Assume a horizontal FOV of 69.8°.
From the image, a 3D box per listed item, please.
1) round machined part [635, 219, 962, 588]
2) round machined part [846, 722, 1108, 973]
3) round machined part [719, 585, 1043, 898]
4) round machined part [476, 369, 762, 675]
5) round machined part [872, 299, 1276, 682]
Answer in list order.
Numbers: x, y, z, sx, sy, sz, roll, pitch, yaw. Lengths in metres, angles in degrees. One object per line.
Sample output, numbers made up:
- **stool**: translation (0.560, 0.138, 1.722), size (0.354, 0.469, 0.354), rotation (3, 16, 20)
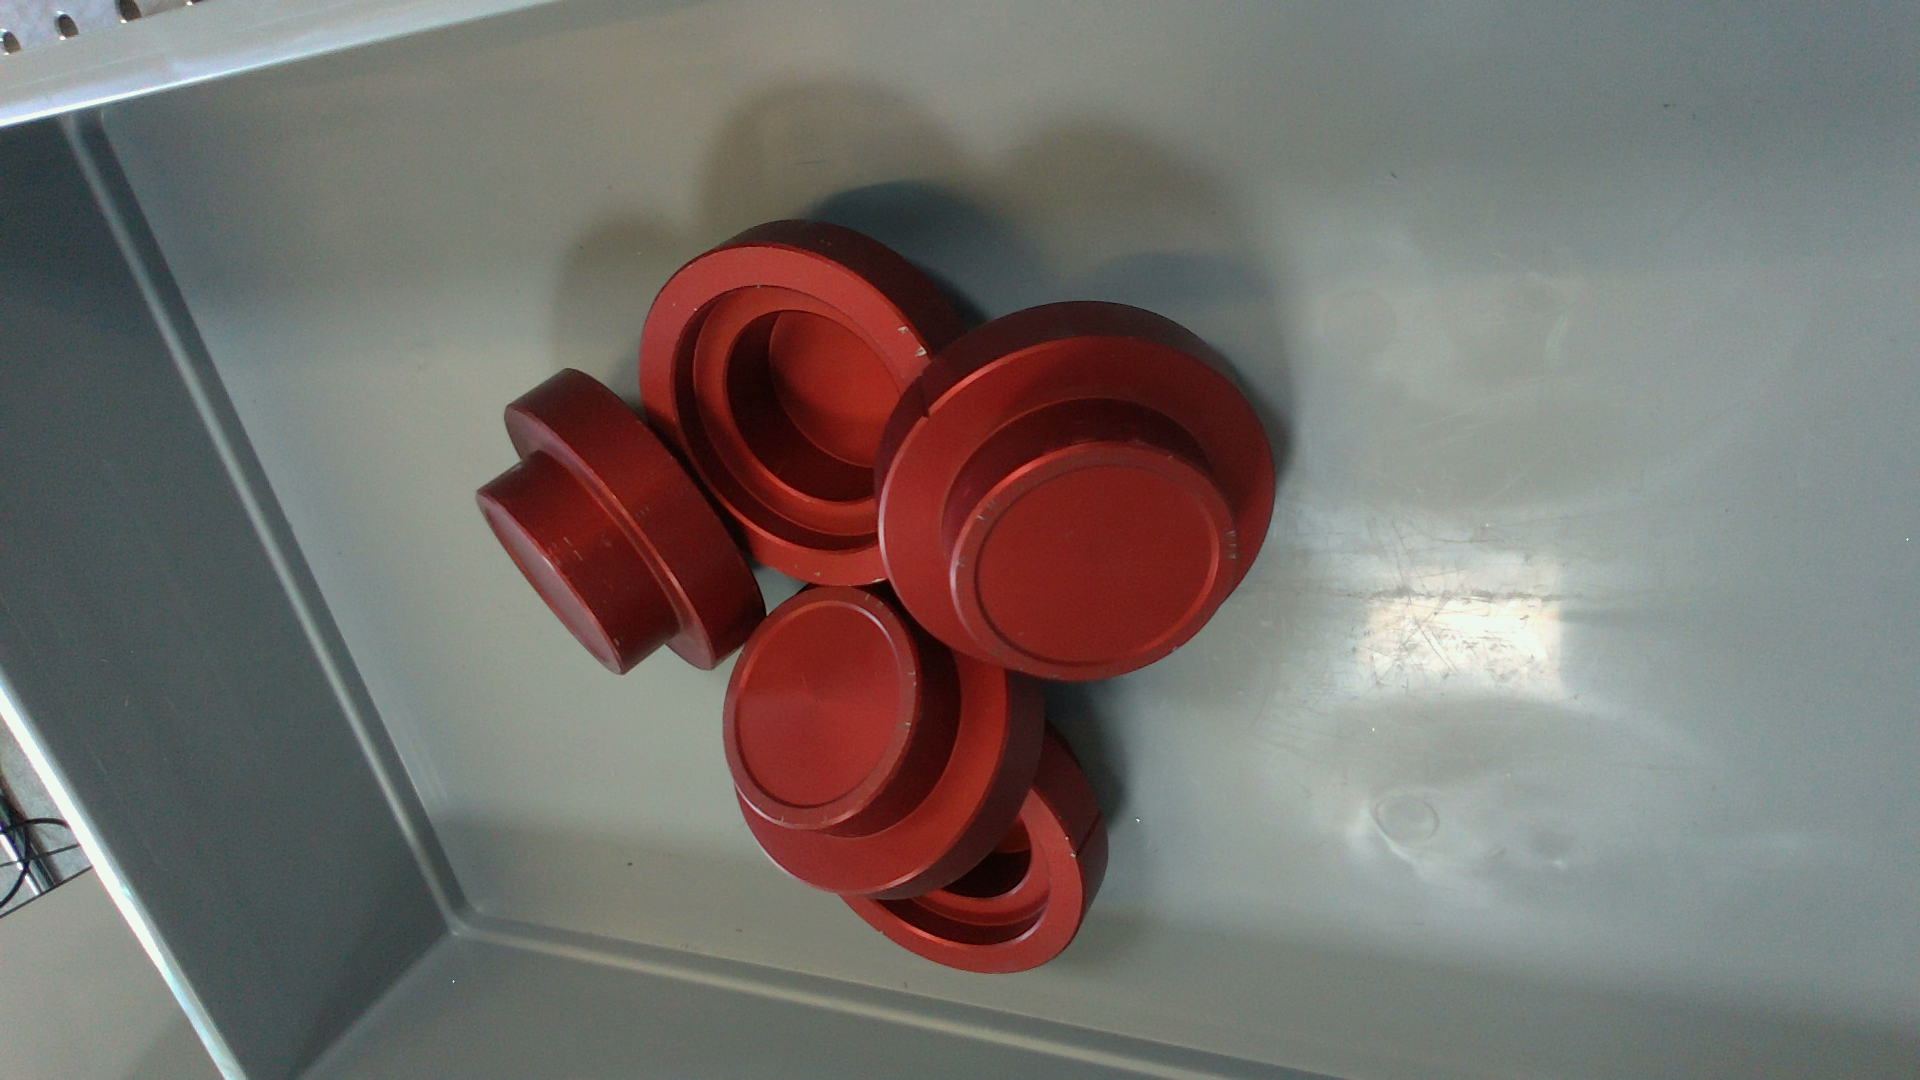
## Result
- **round machined part**: translation (-0.035, -0.039, 0.374), size (0.098, 0.042, 0.098), rotation (13, 124, 21)
- **round machined part**: translation (0.000, 0.084, 0.432), size (0.098, 0.042, 0.098), rotation (13, 124, 21)
- **round machined part**: translation (-0.029, 0.050, 0.390), size (0.098, 0.098, 0.042), rotation (-7, 159, 31)
- **round machined part**: translation (-0.106, 0.001, 0.410), size (0.098, 0.042, 0.098), rotation (41, 156, 23)
- **round machined part**: translation (0.029, -0.005, 0.333), size (0.098, 0.042, 0.098), rotation (-4, 125, -6)
